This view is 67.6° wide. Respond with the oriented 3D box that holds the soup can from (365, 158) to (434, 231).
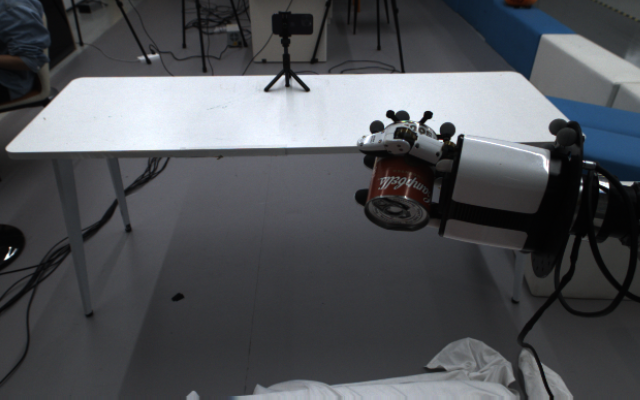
[{"bbox_3d":[0.091,-0.027,0.518,0.067,0.067,0.101,9,58,10],"label":"soup can"}]
